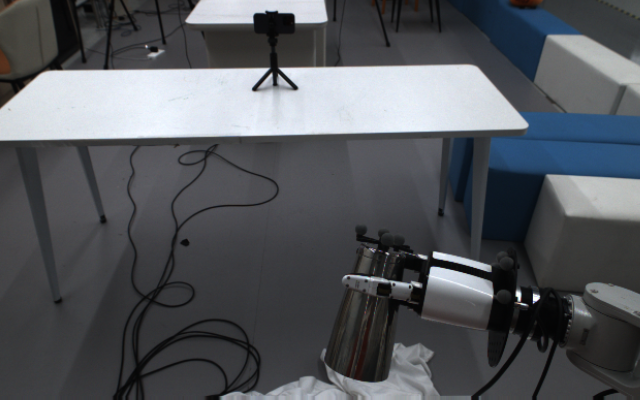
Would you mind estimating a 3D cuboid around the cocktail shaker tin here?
[{"bbox_3d":[0.071,0.149,0.677,0.093,0.170,0.093,12,3,-1],"label":"cocktail shaker tin"}]
